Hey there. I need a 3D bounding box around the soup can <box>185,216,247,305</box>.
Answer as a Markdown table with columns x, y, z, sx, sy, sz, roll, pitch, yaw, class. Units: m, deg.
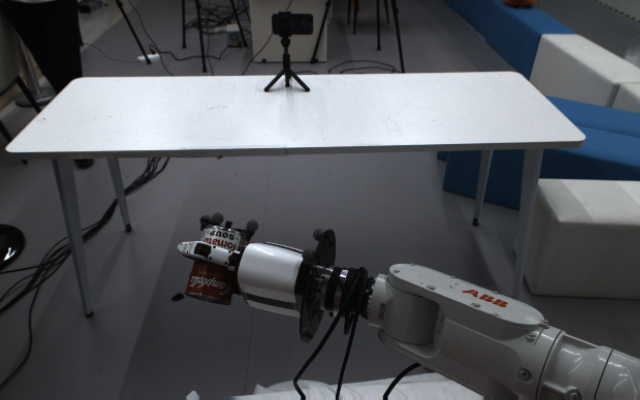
| x | y | z | sx | sy | sz | roll | pitch | yaw | class |
| --- | --- | --- | --- | --- | --- | --- | --- | --- | --- |
| -0.150 | 0.096 | 0.703 | 0.067 | 0.067 | 0.101 | 8 | 71 | 9 | soup can |
